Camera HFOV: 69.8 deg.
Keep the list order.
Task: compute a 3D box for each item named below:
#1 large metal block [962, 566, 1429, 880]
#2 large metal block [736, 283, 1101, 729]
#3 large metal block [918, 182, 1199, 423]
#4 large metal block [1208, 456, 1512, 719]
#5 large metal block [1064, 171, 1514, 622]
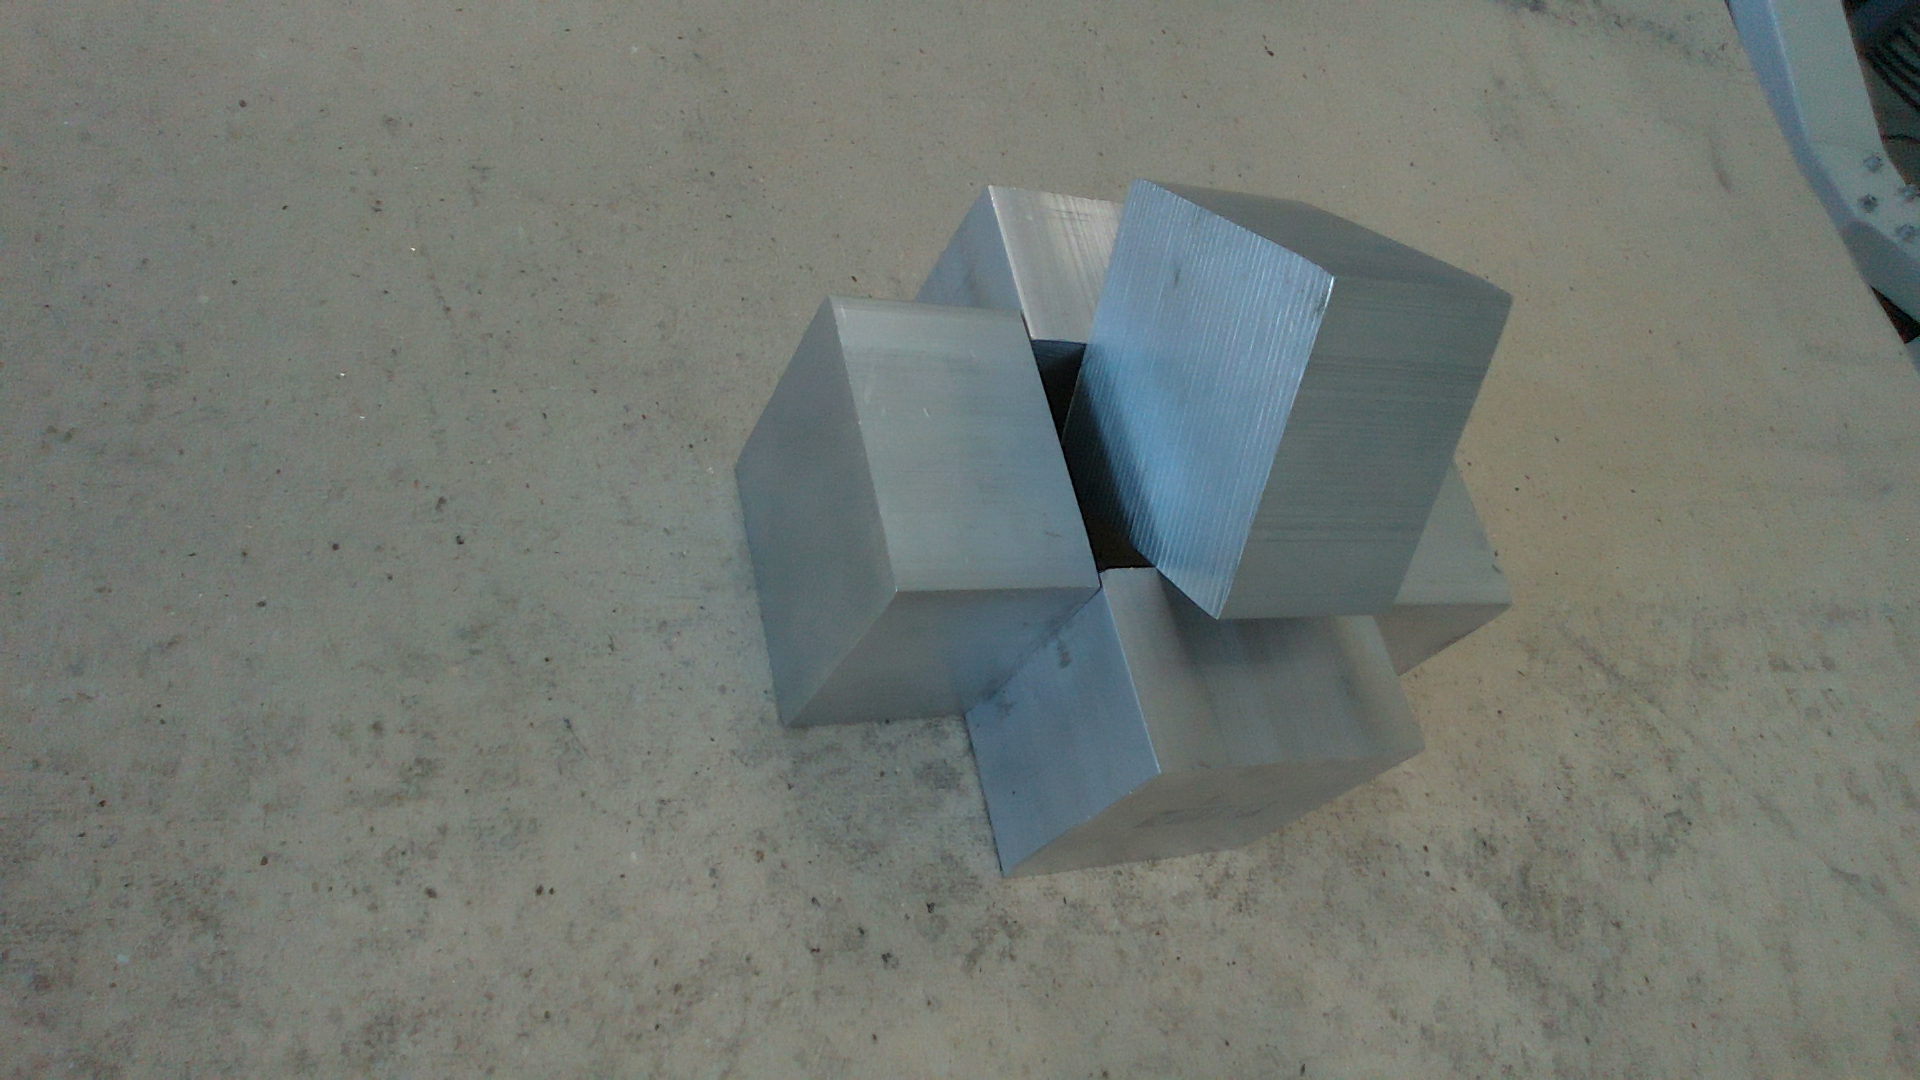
[{"bbox_3d":[0.056,0.047,0.356,0.080,0.080,0.050,0,61,-28],"label":"large metal block"},{"bbox_3d":[-0.015,-0.006,0.349,0.050,0.080,0.080,0,61,-28],"label":"large metal block"},{"bbox_3d":[0.031,-0.054,0.405,0.080,0.080,0.050,1,61,-28],"label":"large metal block"},{"bbox_3d":[0.103,0.001,0.409,0.050,0.080,0.080,1,61,-28],"label":"large metal block"},{"bbox_3d":[0.072,-0.036,0.331,0.050,0.080,0.080,1,27,-28],"label":"large metal block"}]
